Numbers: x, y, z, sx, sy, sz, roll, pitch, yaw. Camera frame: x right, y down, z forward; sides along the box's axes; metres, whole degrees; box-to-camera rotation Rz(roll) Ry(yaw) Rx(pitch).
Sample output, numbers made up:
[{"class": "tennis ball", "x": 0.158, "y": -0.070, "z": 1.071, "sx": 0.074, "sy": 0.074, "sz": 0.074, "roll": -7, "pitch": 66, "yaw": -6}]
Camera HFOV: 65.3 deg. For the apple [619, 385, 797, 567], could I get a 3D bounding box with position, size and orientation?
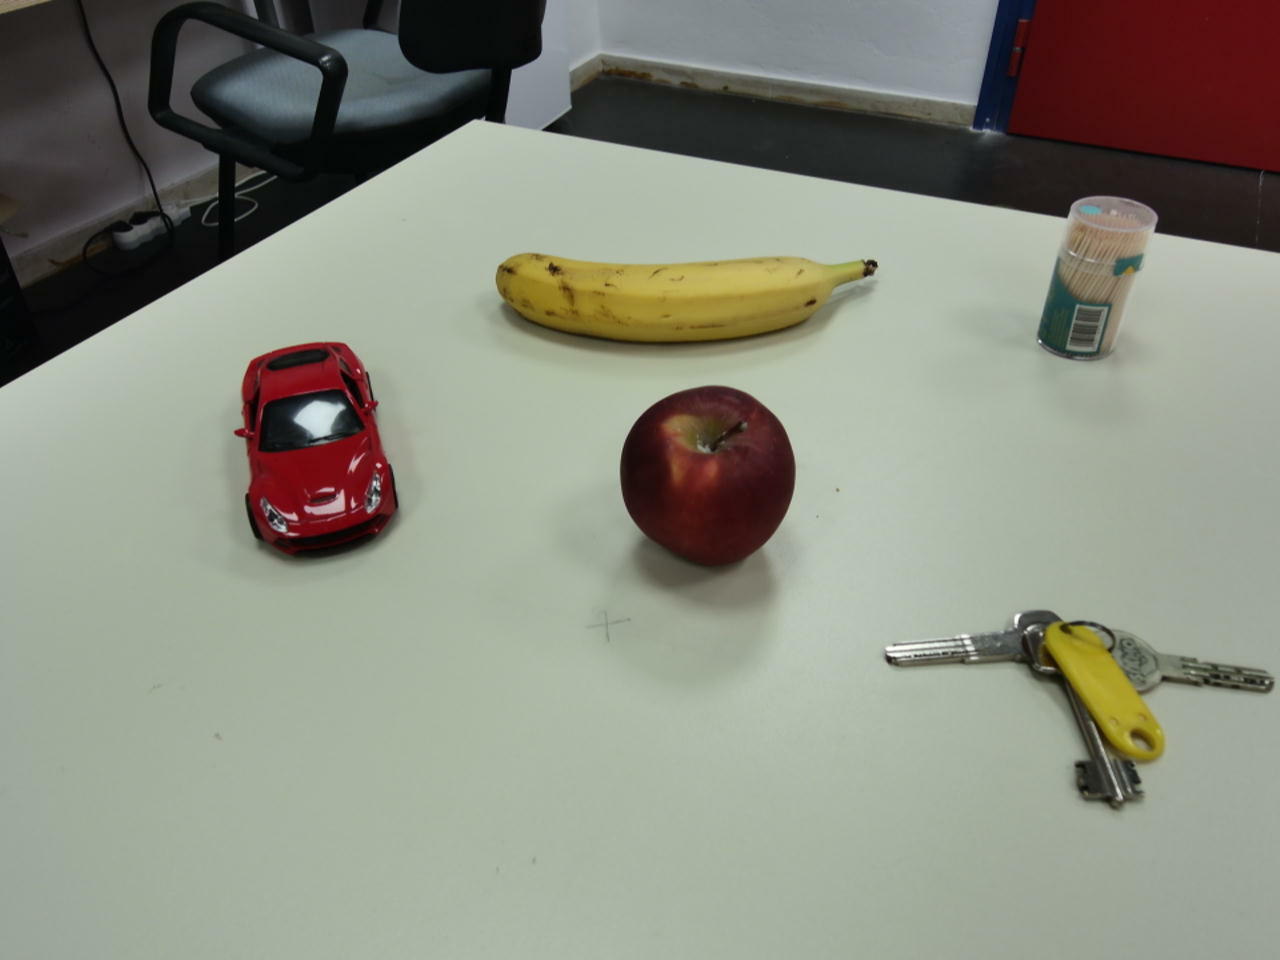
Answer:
[{"class": "apple", "x": 0.027, "y": -0.001, "z": 0.393, "sx": 0.070, "sy": 0.072, "sz": 0.070, "roll": 1, "pitch": 37, "yaw": -1}]
